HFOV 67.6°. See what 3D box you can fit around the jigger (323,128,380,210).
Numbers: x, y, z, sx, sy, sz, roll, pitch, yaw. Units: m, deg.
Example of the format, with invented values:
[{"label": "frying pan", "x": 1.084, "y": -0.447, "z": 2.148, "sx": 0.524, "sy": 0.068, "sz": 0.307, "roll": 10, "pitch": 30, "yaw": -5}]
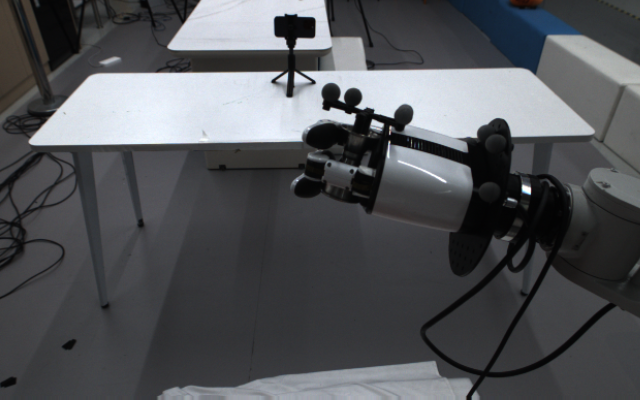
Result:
[{"label": "jigger", "x": 0.033, "y": -0.036, "z": 0.486, "sx": 0.043, "sy": 0.071, "sz": 0.043, "roll": 15, "pitch": 16, "yaw": -5}]
